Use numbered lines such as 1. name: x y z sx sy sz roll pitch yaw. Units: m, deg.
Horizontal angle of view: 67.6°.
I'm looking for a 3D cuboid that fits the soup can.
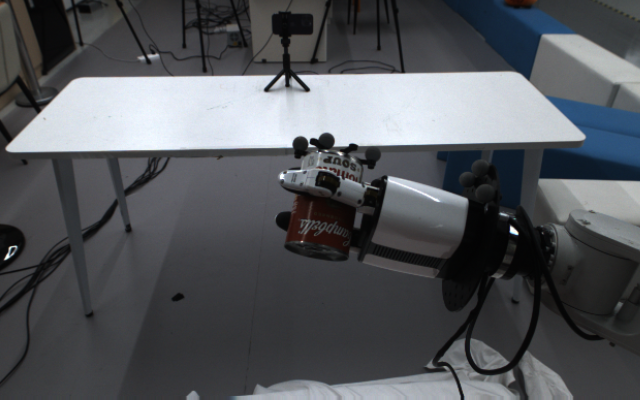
1. soup can: 0.007 0.007 0.505 0.067 0.067 0.101 8 72 9
